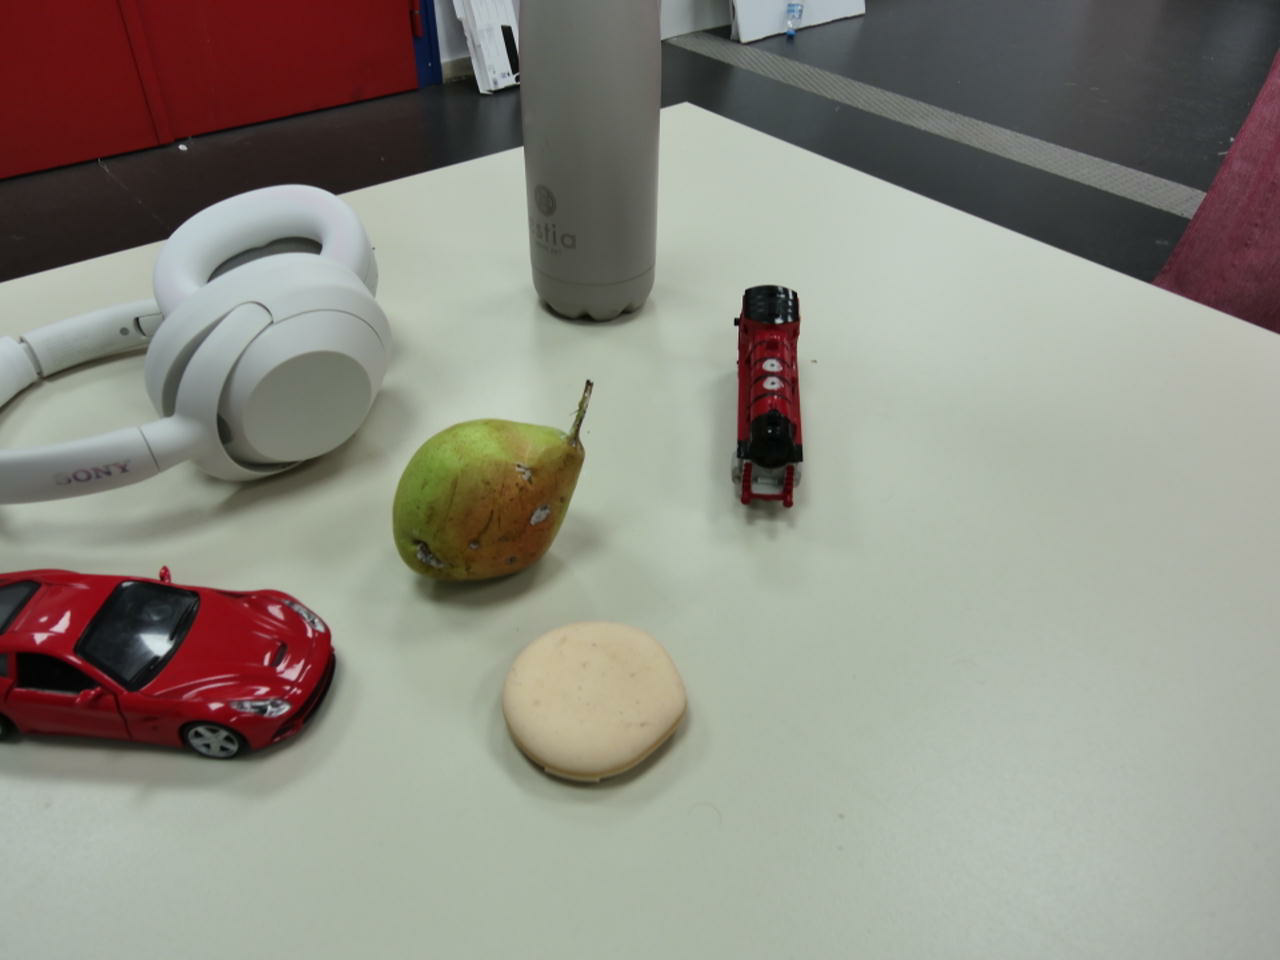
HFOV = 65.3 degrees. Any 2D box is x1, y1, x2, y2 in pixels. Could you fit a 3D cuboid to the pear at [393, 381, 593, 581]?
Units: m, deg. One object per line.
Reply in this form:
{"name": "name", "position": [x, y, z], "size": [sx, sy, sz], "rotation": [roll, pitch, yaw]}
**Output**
{"name": "pear", "position": [-0.059, 0.005, 0.387], "size": [0.070, 0.069, 0.068], "rotation": [7, 37, 9]}
